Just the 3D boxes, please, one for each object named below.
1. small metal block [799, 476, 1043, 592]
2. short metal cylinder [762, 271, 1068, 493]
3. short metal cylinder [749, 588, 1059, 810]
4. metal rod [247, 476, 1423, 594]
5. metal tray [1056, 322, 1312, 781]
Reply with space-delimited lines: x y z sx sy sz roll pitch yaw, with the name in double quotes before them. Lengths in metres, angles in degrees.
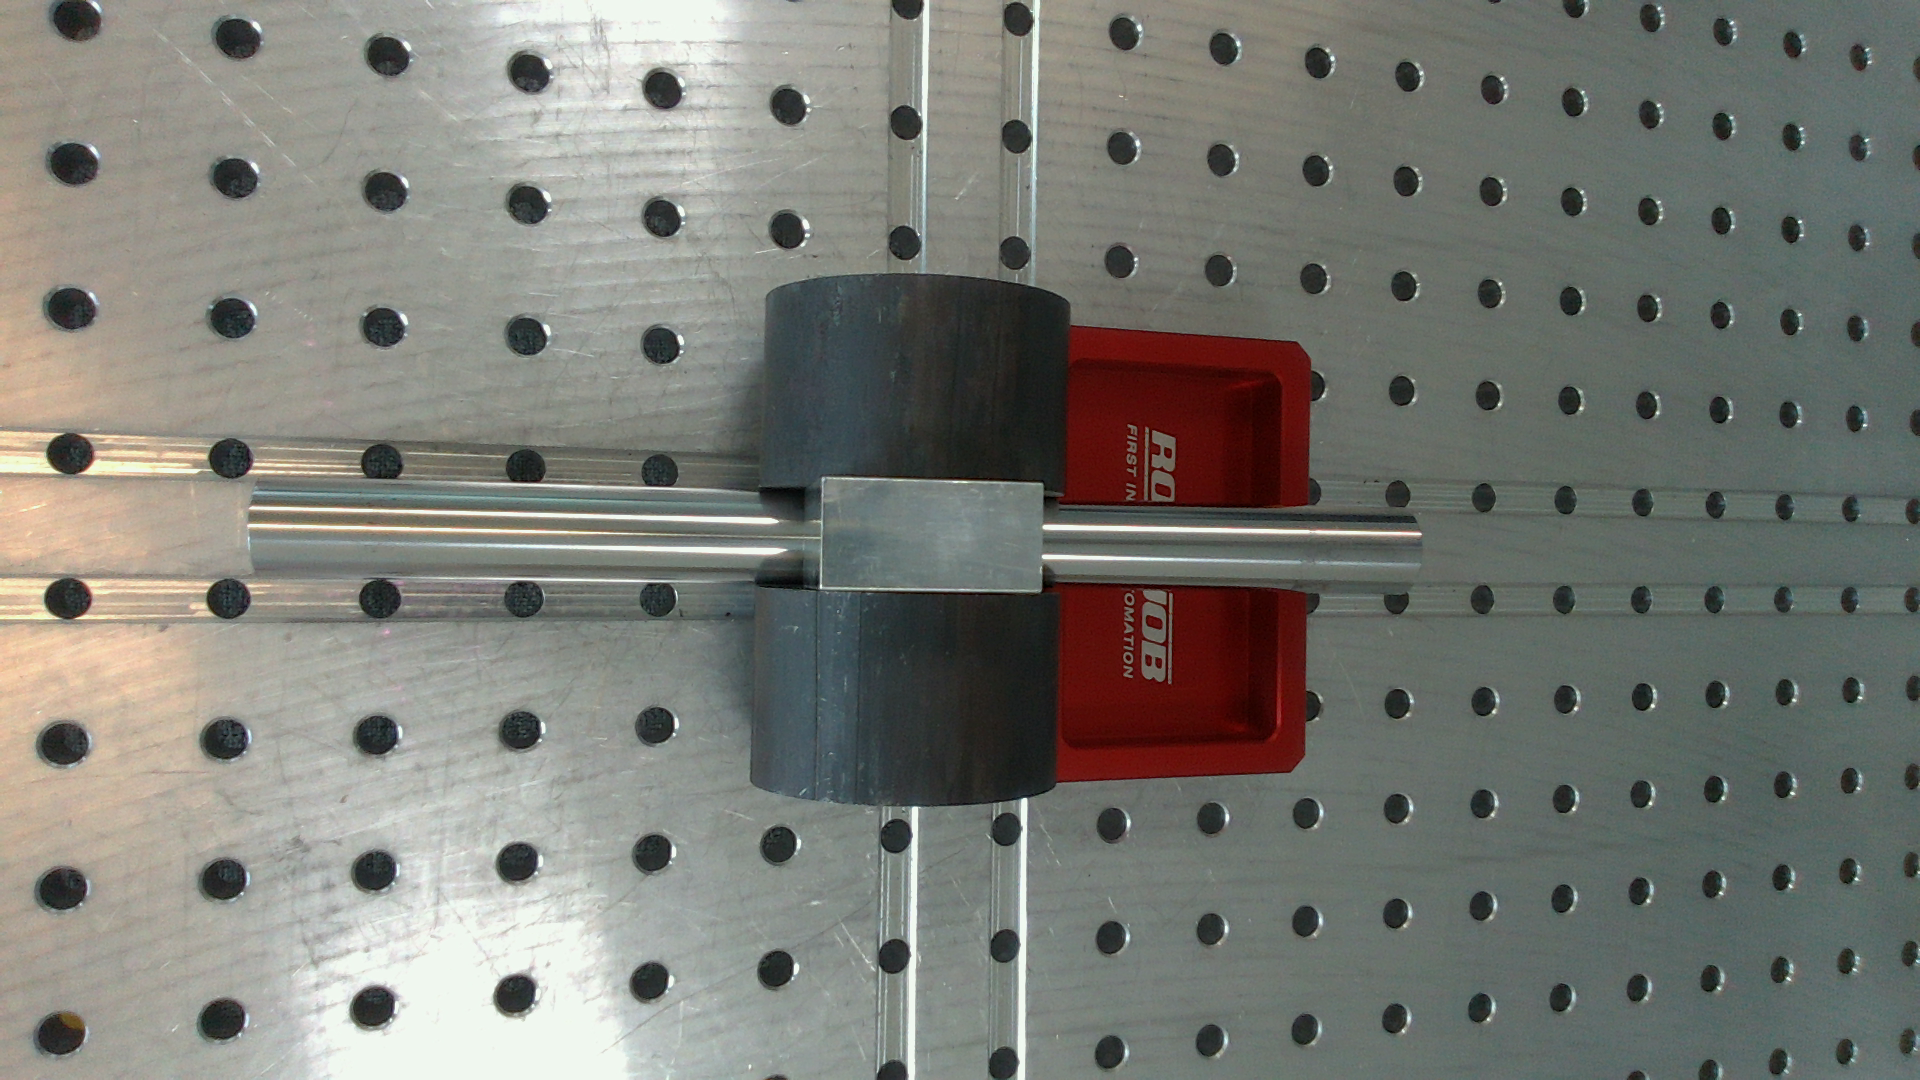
"small metal block" -0.011 -0.001 0.328 0.050 0.050 0.025 1 90 -12
"short metal cylinder" -0.011 -0.038 0.361 0.080 0.080 0.050 1 90 -20
"short metal cylinder" -0.014 0.038 0.361 0.080 0.080 0.050 2 90 -20
"metal rod" -0.022 0.000 0.363 0.300 0.025 0.025 1 90 -11
"metal tray" 0.058 0.004 0.414 0.090 0.030 0.130 1 90 -20
